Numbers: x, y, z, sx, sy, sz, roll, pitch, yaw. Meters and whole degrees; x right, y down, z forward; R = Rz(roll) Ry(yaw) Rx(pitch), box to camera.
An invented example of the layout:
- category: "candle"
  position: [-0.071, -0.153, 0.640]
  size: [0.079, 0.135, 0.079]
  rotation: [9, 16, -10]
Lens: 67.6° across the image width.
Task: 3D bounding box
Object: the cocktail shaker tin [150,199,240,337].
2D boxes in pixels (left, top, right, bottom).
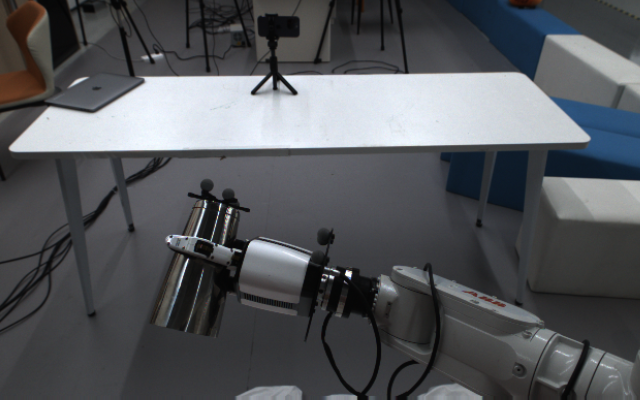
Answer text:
- category: "cocktail shaker tin"
  position: [-0.163, 0.092, 0.656]
  size: [0.093, 0.093, 0.170]
  rotation: [10, 74, 11]
